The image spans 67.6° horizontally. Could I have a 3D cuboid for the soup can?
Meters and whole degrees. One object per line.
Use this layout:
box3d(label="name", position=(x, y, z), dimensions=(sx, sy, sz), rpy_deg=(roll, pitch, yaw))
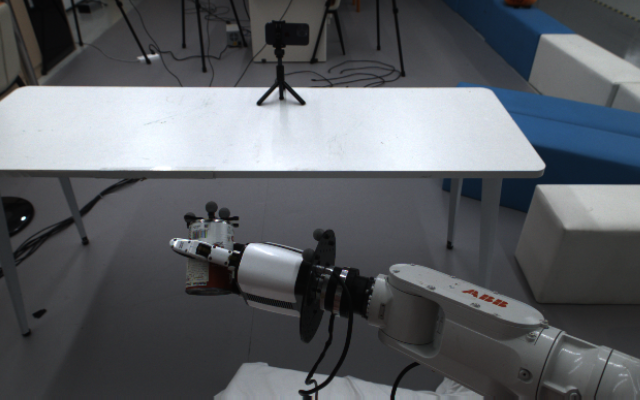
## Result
box3d(label="soup can", position=(-0.158, 0.085, 0.705), dimensions=(0.067, 0.067, 0.101), rpy_deg=(-1, 71, -5))
